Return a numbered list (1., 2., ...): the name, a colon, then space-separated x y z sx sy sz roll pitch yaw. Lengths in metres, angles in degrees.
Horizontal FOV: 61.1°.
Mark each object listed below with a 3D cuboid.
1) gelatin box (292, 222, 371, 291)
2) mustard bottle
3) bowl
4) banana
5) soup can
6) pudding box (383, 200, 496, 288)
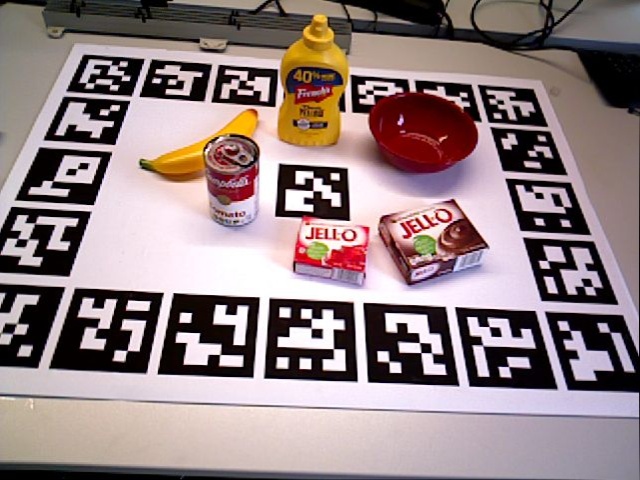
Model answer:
1. gelatin box: 0.015 0.019 0.666 0.089 0.031 0.072 8 55 1
2. mustard bottle: -0.005 -0.222 0.734 0.095 0.196 0.057 4 48 -5
3. bowl: 0.155 -0.147 0.799 0.161 0.056 0.159 2 51 -3
4. banana: -0.159 -0.143 0.769 0.074 0.039 0.193 31 54 30
5. soup can: -0.112 -0.080 0.671 0.067 0.104 0.067 4 50 -6
6. pudding box: 0.150 0.002 0.688 0.112 0.039 0.089 -17 61 -18
